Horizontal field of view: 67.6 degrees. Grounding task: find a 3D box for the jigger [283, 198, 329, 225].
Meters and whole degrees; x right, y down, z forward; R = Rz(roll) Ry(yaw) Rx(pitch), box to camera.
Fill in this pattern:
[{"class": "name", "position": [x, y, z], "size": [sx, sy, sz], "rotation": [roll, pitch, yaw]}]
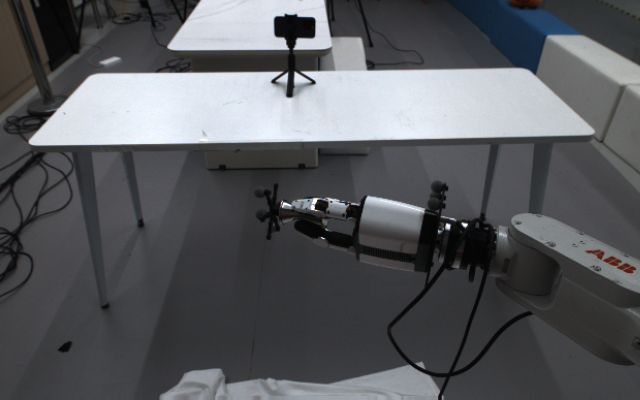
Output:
[{"class": "jigger", "position": [-0.017, 0.016, 0.733], "size": [0.071, 0.043, 0.043], "rotation": [3, 34, 14]}]
